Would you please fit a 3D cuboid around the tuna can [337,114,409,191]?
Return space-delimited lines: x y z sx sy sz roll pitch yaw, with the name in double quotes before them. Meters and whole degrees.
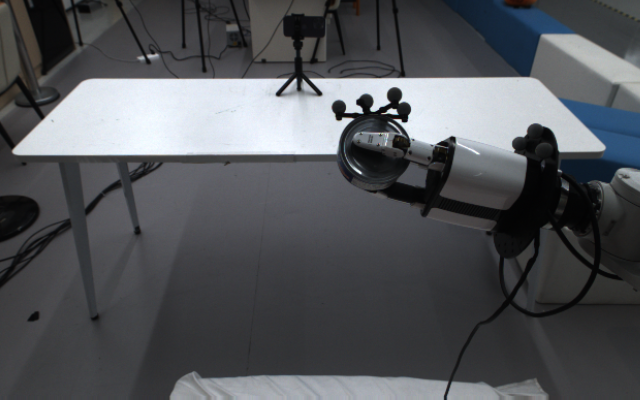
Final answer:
"tuna can" 0.064 -0.058 0.572 0.085 0.034 0.085 1 70 -4
